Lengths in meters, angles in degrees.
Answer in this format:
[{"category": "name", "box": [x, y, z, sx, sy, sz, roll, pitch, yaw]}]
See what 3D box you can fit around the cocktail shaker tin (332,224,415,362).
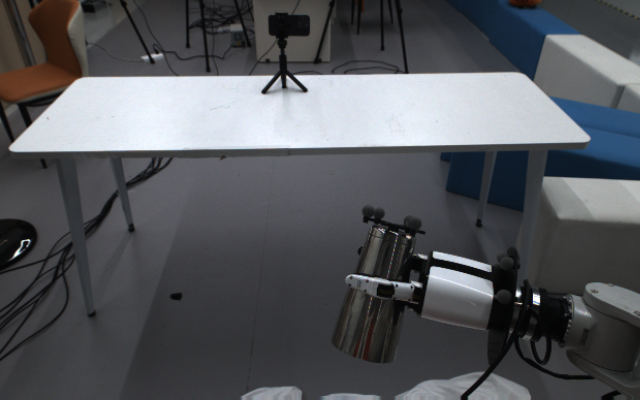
[{"category": "cocktail shaker tin", "box": [0.081, 0.125, 0.673, 0.093, 0.170, 0.093, 14, 2, 0]}]
